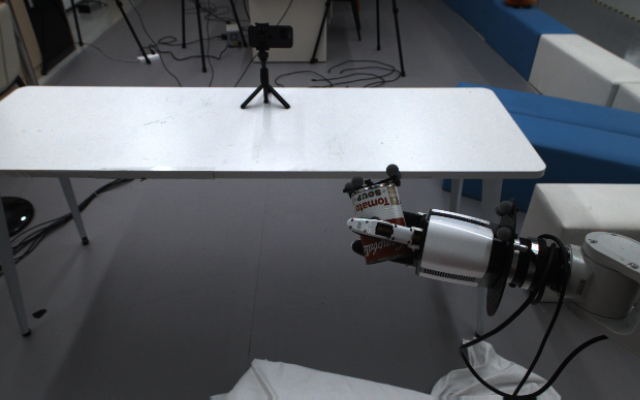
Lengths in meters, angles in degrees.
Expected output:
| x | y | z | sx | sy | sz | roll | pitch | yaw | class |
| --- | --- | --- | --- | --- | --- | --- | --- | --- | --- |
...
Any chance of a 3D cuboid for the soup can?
| x | y | z | sx | sy | sz | roll | pitch | yaw | class |
| --- | --- | --- | --- | --- | --- | --- | --- | --- | --- |
| 0.087 | 0.034 | 0.680 | 0.067 | 0.067 | 0.101 | -10 | 80 | -16 | soup can |
